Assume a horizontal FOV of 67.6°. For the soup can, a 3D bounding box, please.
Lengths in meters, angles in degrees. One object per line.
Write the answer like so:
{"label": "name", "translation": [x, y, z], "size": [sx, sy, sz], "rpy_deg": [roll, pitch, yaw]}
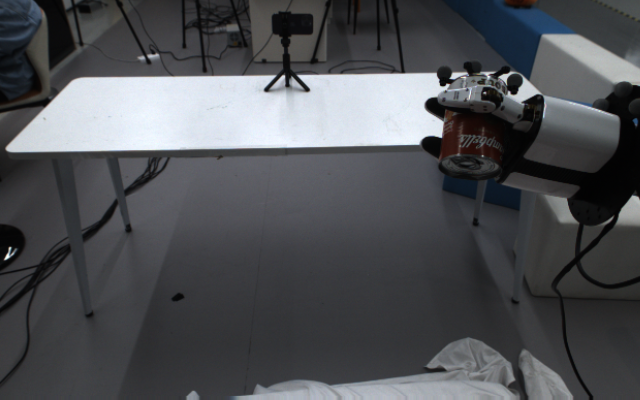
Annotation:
{"label": "soup can", "translation": [0.174, -0.081, 0.542], "size": [0.067, 0.067, 0.101], "rpy_deg": [8, 72, 9]}
